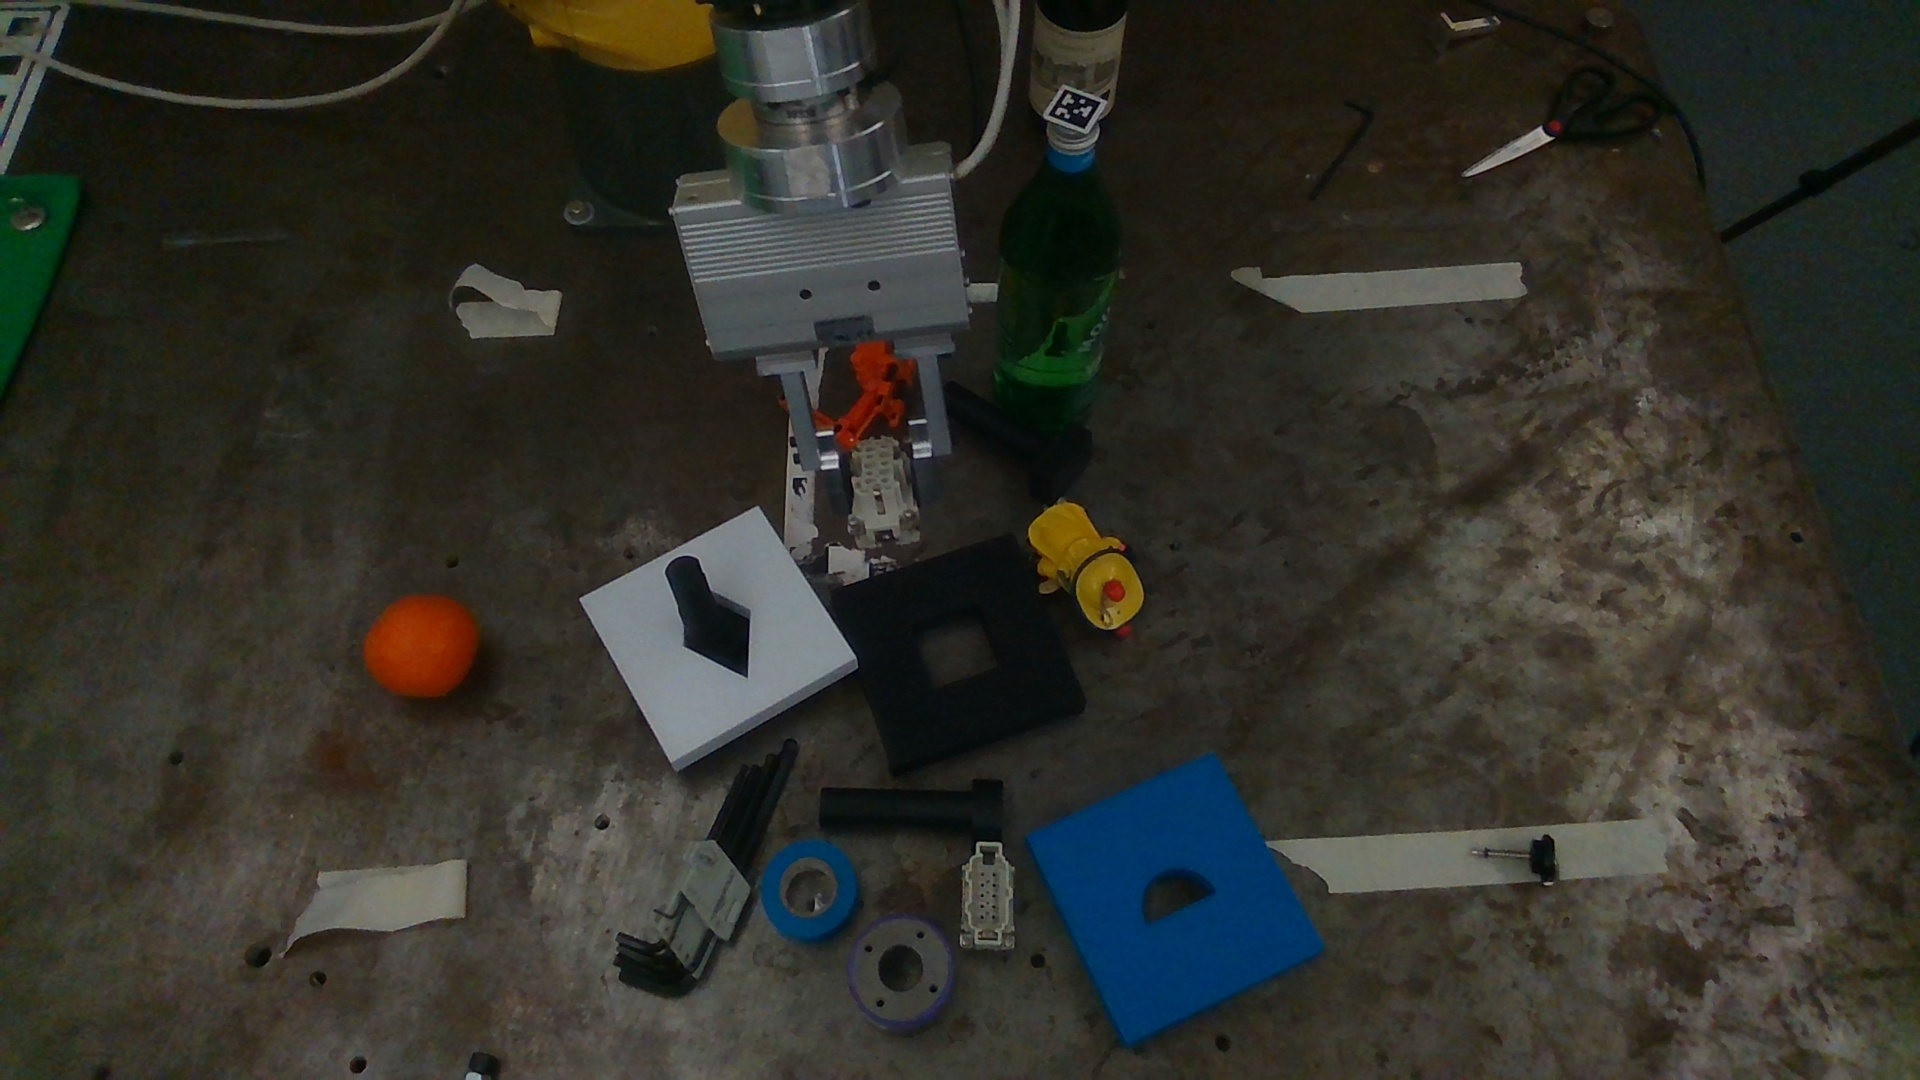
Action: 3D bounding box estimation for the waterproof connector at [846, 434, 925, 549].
[{"bbox_3d":[-0.040,-0.027,0.723,0.037,0.038,0.069,-13,36,8],"label":"waterproof connector"}]
